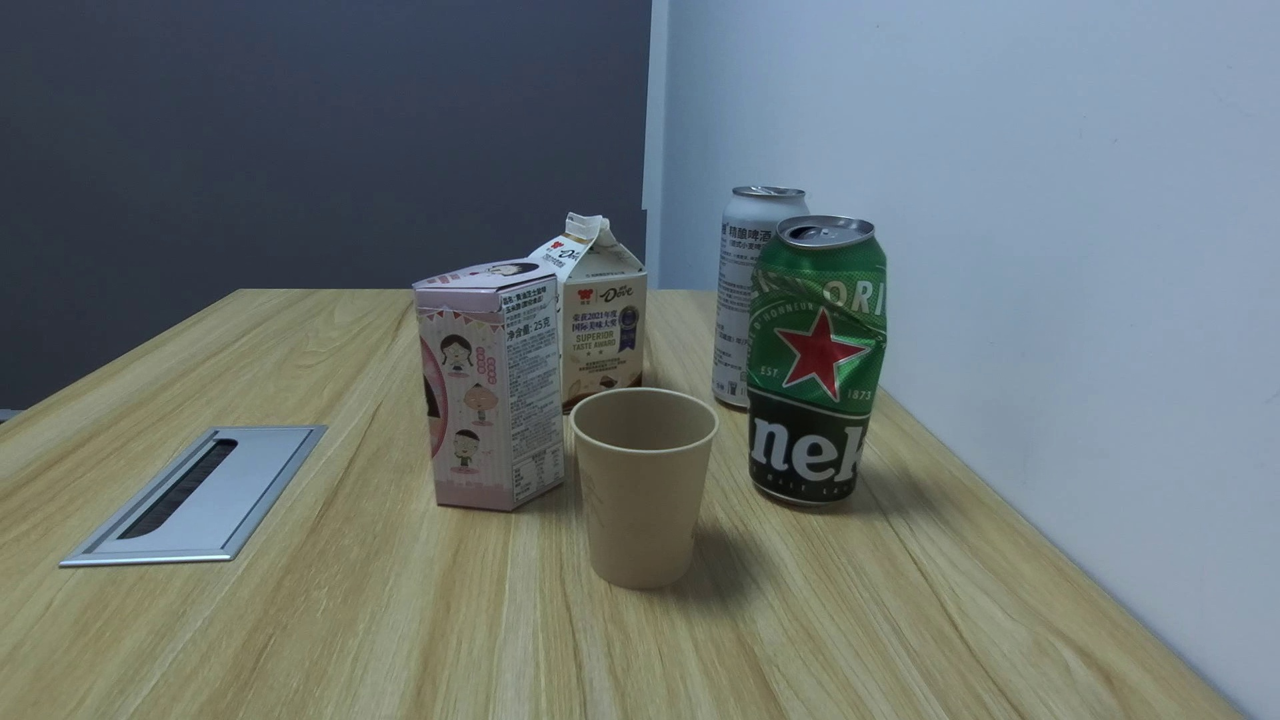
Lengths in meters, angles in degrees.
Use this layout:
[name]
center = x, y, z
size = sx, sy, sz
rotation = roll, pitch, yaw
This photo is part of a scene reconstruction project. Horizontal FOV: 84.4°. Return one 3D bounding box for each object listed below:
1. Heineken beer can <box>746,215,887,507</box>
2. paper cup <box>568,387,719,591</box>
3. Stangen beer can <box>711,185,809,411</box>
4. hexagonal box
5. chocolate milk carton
[Heineken beer can]
center = 0.102, 0.004, 0.418
size = 0.069, 0.168, 0.068
rotation = -4, 22, -7
[paper cup]
center = 0.001, 0.066, 0.361
size = 0.075, 0.082, 0.075
rotation = 2, 21, 0
[Stangen beer can]
center = 0.092, -0.043, 0.538
size = 0.067, 0.171, 0.067
rotation = 3, 12, 0
[hexagonal box]
center = -0.088, 0.012, 0.431
size = 0.085, 0.135, 0.092
rotation = -6, 21, -18
[chocolate milk carton]
center = -0.042, -0.043, 0.559
size = 0.074, 0.148, 0.075
rotation = -10, 25, -27
